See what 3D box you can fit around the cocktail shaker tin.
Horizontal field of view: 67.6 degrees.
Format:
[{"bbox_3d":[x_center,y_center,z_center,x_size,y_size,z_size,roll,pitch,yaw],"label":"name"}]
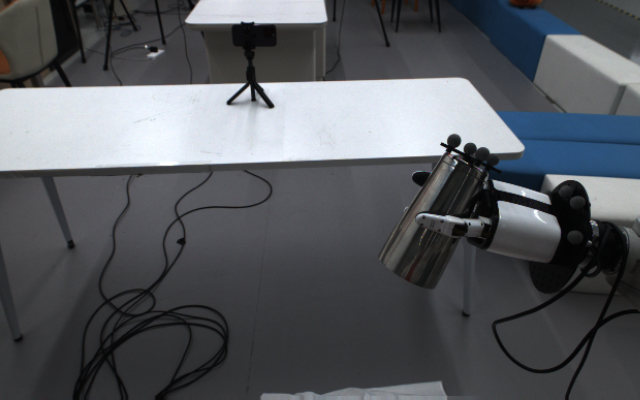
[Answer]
[{"bbox_3d":[0.162,0.023,0.664,0.093,0.170,0.093,24,13,-6],"label":"cocktail shaker tin"}]
